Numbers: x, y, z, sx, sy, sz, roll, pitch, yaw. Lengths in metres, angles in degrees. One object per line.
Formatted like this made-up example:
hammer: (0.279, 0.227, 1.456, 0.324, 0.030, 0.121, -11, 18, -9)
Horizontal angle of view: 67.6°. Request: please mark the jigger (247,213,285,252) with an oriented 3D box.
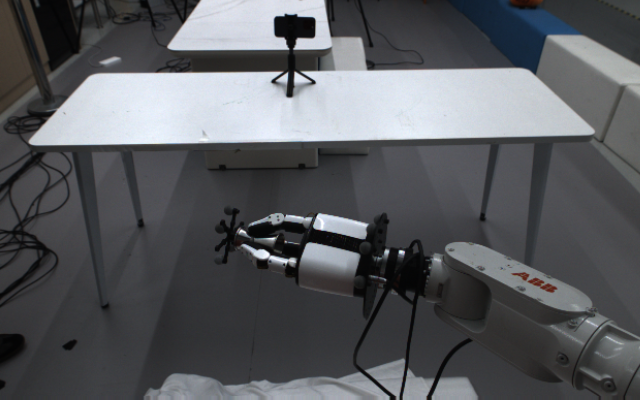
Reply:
jigger: (-0.089, 0.064, 0.757, 0.071, 0.043, 0.043, 11, 36, 15)
